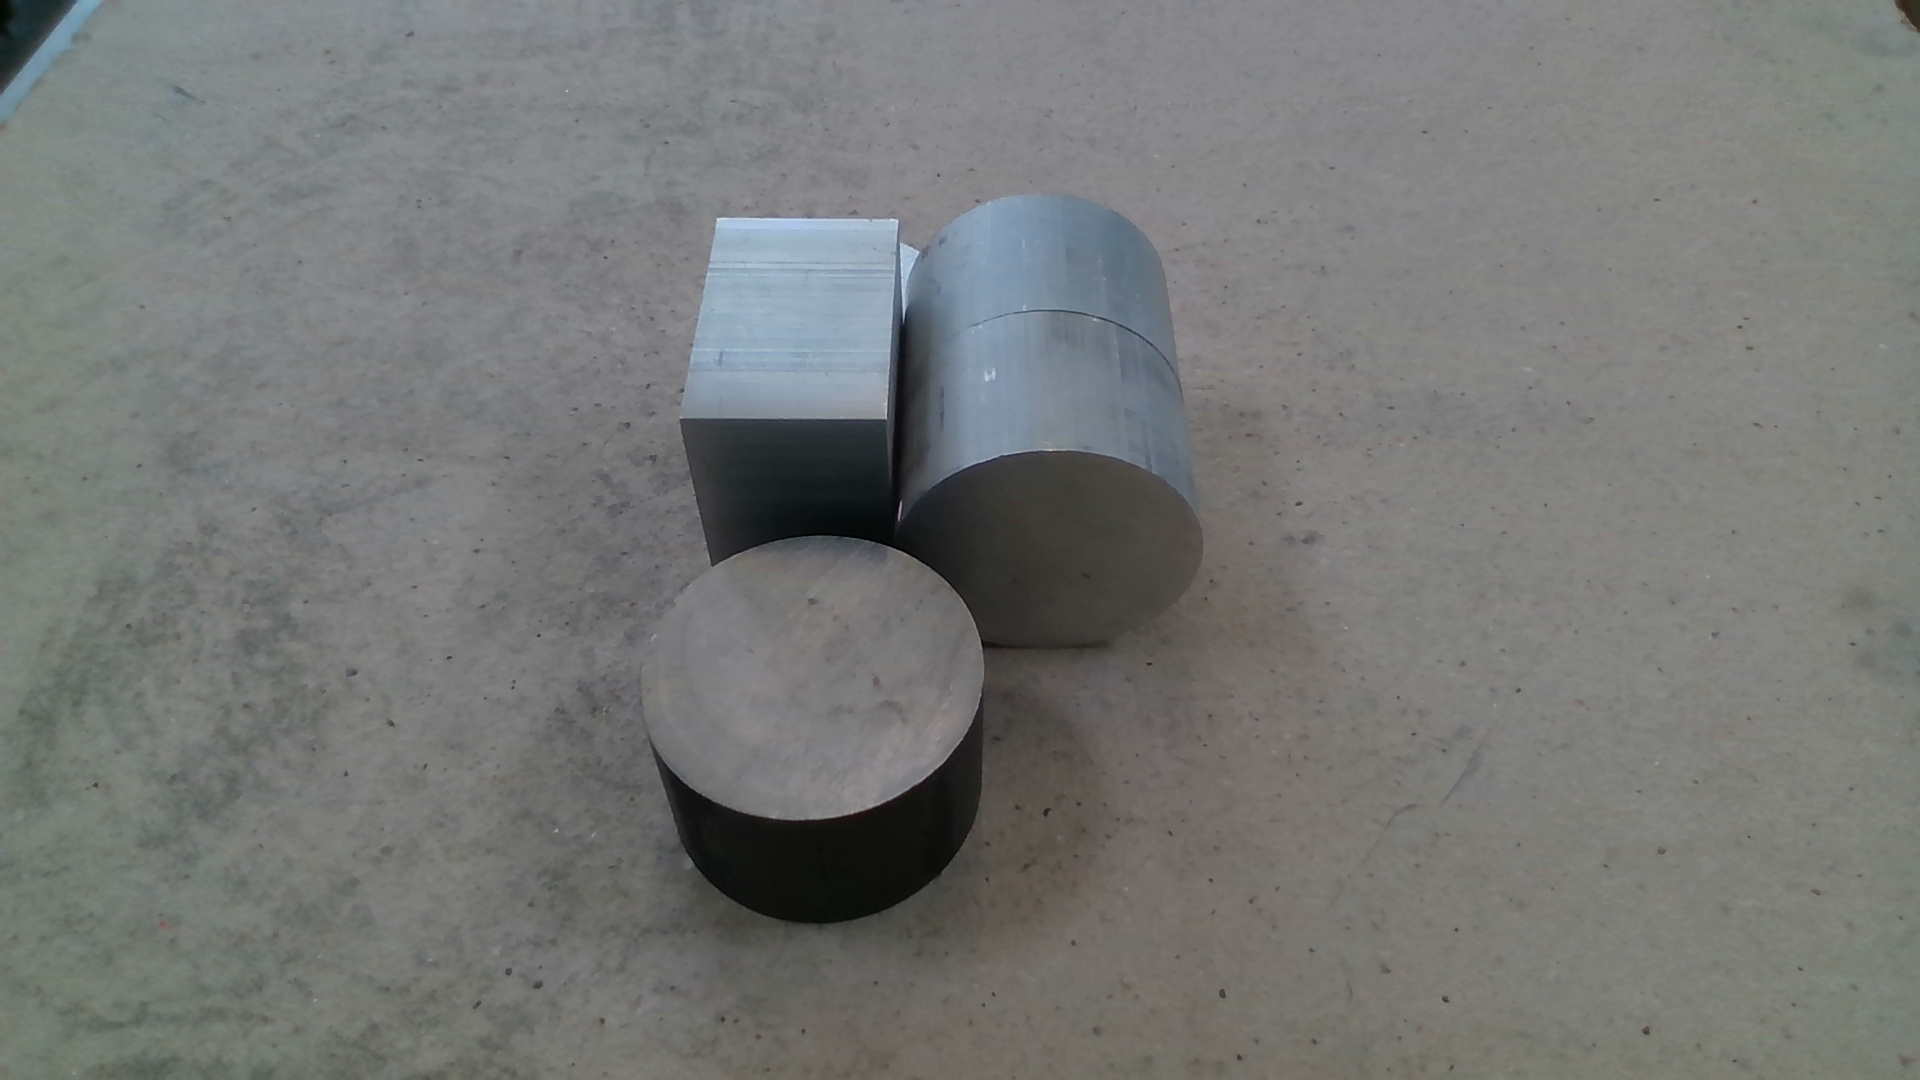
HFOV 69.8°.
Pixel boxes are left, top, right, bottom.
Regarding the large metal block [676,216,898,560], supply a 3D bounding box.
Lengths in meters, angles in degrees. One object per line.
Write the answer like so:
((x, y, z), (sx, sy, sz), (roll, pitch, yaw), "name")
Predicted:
((-0.043, -0.034, 0.387), (0.050, 0.080, 0.080), (0, 50, 0), "large metal block")

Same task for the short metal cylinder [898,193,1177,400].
((0.022, -0.053, 0.403), (0.080, 0.080, 0.050), (0, 50, 0), "short metal cylinder")

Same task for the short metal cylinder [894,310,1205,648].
((0.023, -0.015, 0.371), (0.080, 0.080, 0.050), (0, 50, 0), "short metal cylinder")

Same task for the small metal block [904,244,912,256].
((-0.029, -0.073, 0.456), (0.050, 0.025, 0.050), (31, 57, 23), "small metal block")

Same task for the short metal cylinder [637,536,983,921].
((-0.035, 0.046, 0.339), (0.080, 0.050, 0.080), (0, 50, 0), "short metal cylinder")
